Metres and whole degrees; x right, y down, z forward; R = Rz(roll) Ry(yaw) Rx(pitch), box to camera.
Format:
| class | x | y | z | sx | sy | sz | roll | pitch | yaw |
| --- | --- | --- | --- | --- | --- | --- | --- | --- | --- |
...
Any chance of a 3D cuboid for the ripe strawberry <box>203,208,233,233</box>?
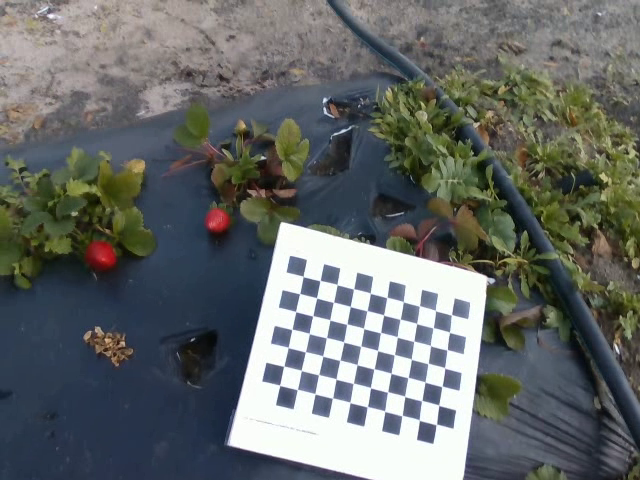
| class | x | y | z | sx | sy | sz | roll | pitch | yaw |
| --- | --- | --- | --- | --- | --- | --- | --- | --- | --- |
| ripe strawberry | -0.152 | -0.022 | 0.705 | 0.041 | 0.044 | 0.052 | -44 | 12 | 26 |

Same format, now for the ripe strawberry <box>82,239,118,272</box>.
| class | x | y | z | sx | sy | sz | roll | pitch | yaw |
| --- | --- | --- | --- | --- | --- | --- | --- | --- | --- |
| ripe strawberry | -0.292 | 0.026 | 0.651 | 0.050 | 0.046 | 0.050 | 18 | 4 | -17 |
